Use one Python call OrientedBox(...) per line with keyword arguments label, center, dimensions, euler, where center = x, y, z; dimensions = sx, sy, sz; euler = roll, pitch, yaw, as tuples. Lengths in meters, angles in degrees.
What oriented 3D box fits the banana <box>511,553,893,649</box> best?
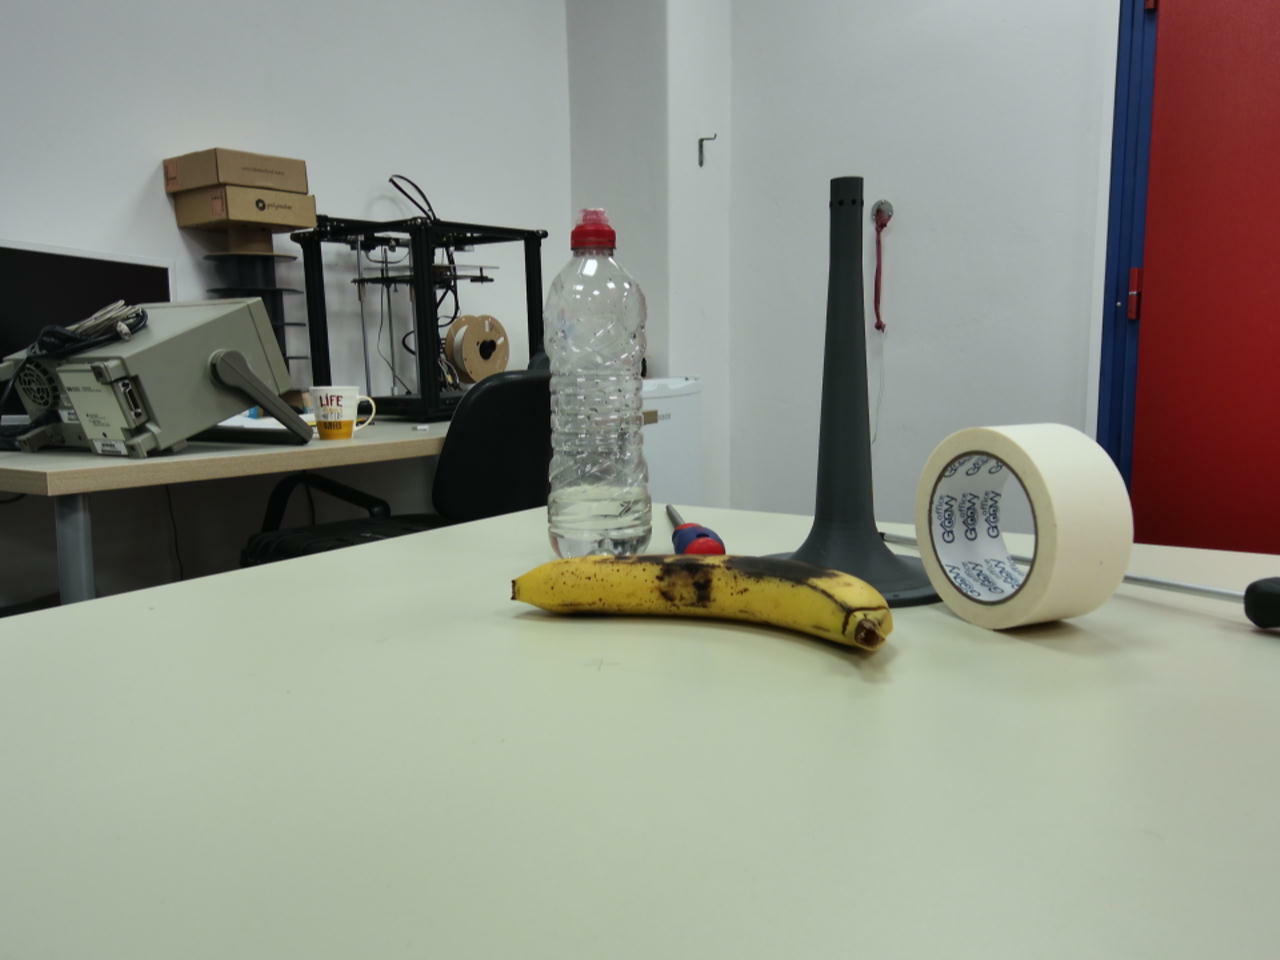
OrientedBox(label="banana", center=(0.037, 0.061, 0.535), dimensions=(0.222, 0.037, 0.084), euler=(4, 7, 36))
